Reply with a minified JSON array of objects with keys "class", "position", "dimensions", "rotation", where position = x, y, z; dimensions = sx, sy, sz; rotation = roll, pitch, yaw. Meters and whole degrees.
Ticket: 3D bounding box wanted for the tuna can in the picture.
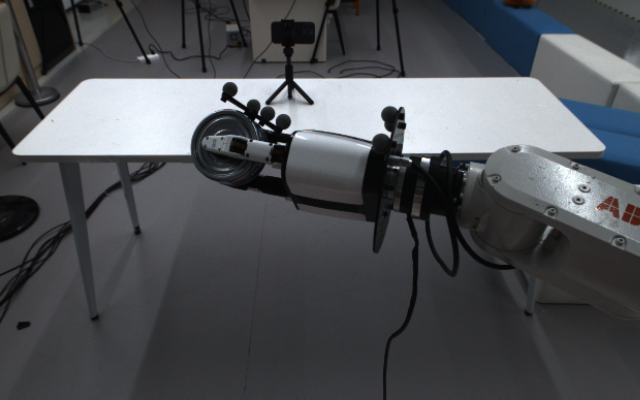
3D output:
[{"class":"tuna can","position":[-0.104,-0.061,0.563],"dimensions":[0.085,0.085,0.034],"rotation":[12,-4,15]}]
